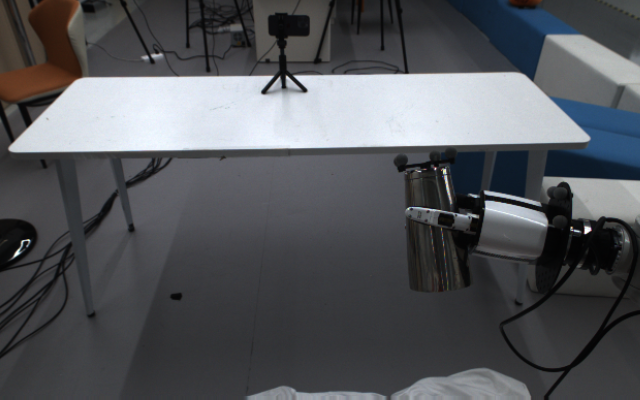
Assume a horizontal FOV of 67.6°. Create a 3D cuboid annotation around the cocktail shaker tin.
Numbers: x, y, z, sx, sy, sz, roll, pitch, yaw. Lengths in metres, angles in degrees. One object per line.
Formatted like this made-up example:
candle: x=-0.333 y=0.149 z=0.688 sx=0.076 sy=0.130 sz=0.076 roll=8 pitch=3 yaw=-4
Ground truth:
cocktail shaker tin: x=0.166 y=0.039 z=0.707 sx=0.093 sy=0.170 sz=0.093 roll=-8 pitch=1 yaw=0
